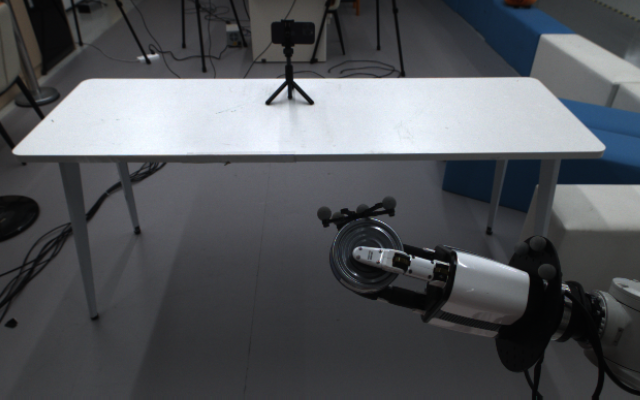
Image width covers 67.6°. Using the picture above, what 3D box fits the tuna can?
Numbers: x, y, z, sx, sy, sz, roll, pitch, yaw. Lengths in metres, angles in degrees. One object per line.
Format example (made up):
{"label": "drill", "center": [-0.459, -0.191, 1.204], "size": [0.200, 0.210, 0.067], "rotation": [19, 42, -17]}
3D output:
{"label": "tuna can", "center": [0.058, 0.063, 0.567], "size": [0.085, 0.034, 0.085], "rotation": [0, 72, -1]}
